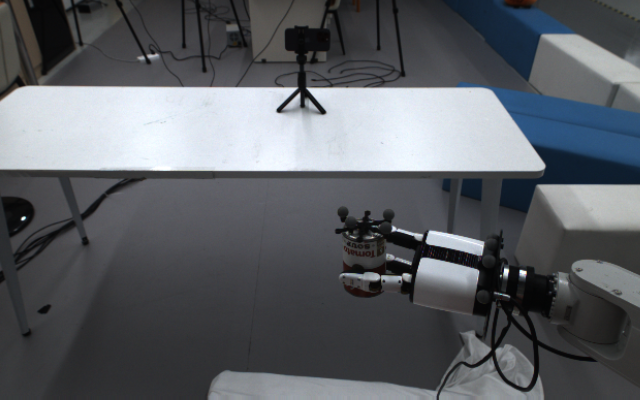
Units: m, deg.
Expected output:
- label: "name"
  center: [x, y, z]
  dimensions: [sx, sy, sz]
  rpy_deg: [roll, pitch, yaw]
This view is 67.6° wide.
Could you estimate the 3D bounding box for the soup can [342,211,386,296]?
- label: "soup can"
  center: [0.070, 0.086, 0.736]
  dimensions: [0.067, 0.101, 0.067]
  rpy_deg: [-3, 27, 2]
